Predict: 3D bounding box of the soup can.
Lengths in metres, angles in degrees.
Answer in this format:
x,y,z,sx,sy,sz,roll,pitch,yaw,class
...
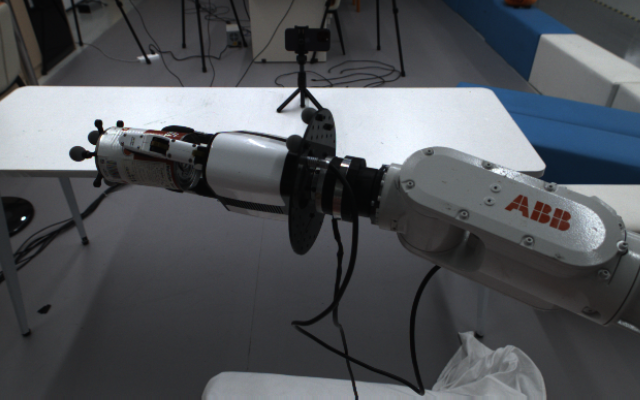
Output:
x,y,z,sx,sy,sz,roll,pitch,yaw,class
-0.196,-0.047,0.567,0.101,0.067,0.067,7,35,11,soup can
